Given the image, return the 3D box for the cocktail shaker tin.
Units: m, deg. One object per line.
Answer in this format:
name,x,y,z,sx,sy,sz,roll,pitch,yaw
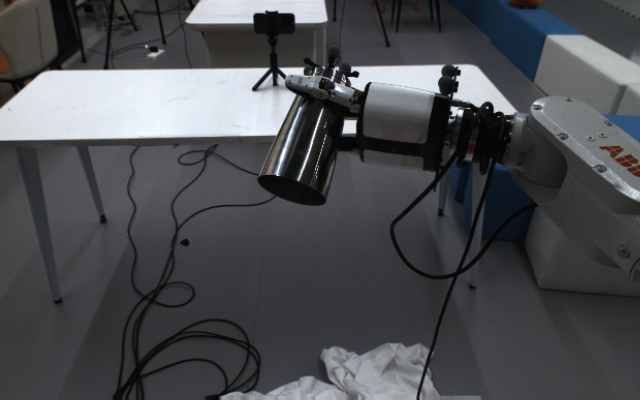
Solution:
cocktail shaker tin,-0.012,-0.091,0.644,0.093,0.093,0.170,13,71,15
